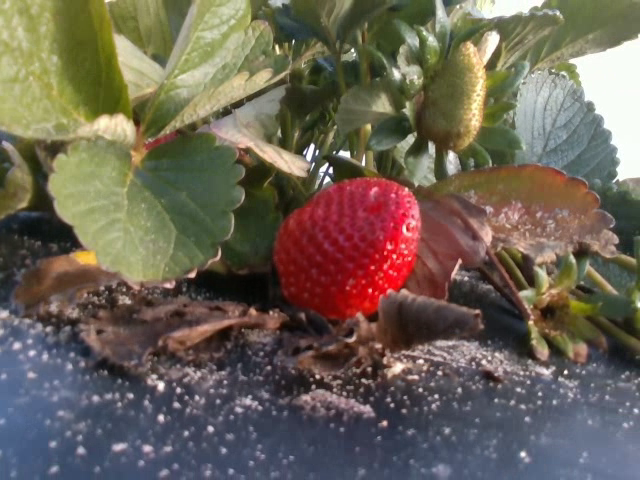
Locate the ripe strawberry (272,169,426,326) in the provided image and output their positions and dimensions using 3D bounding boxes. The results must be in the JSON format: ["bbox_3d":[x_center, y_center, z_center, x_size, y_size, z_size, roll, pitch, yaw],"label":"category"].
[{"bbox_3d":[0.005,0.001,0.104,0.031,0.026,0.030,-5,3,-24],"label":"ripe strawberry"}]
